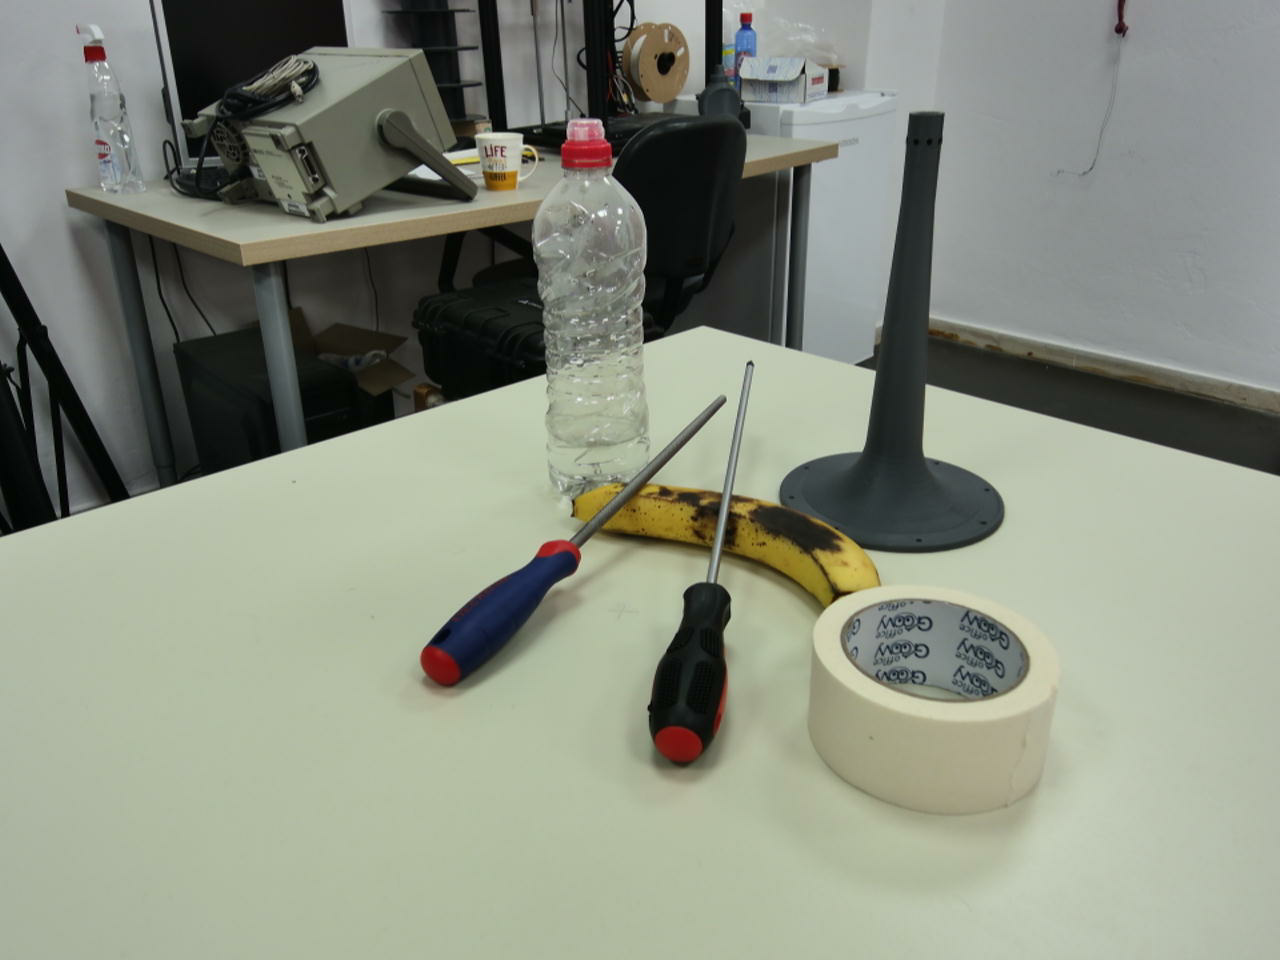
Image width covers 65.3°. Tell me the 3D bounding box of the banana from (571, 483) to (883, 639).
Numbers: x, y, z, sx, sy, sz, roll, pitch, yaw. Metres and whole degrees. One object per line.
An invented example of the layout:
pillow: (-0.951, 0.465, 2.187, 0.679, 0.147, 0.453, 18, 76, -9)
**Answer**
banana: (0.058, 0.036, 0.602, 0.084, 0.037, 0.222, -20, 31, -38)
